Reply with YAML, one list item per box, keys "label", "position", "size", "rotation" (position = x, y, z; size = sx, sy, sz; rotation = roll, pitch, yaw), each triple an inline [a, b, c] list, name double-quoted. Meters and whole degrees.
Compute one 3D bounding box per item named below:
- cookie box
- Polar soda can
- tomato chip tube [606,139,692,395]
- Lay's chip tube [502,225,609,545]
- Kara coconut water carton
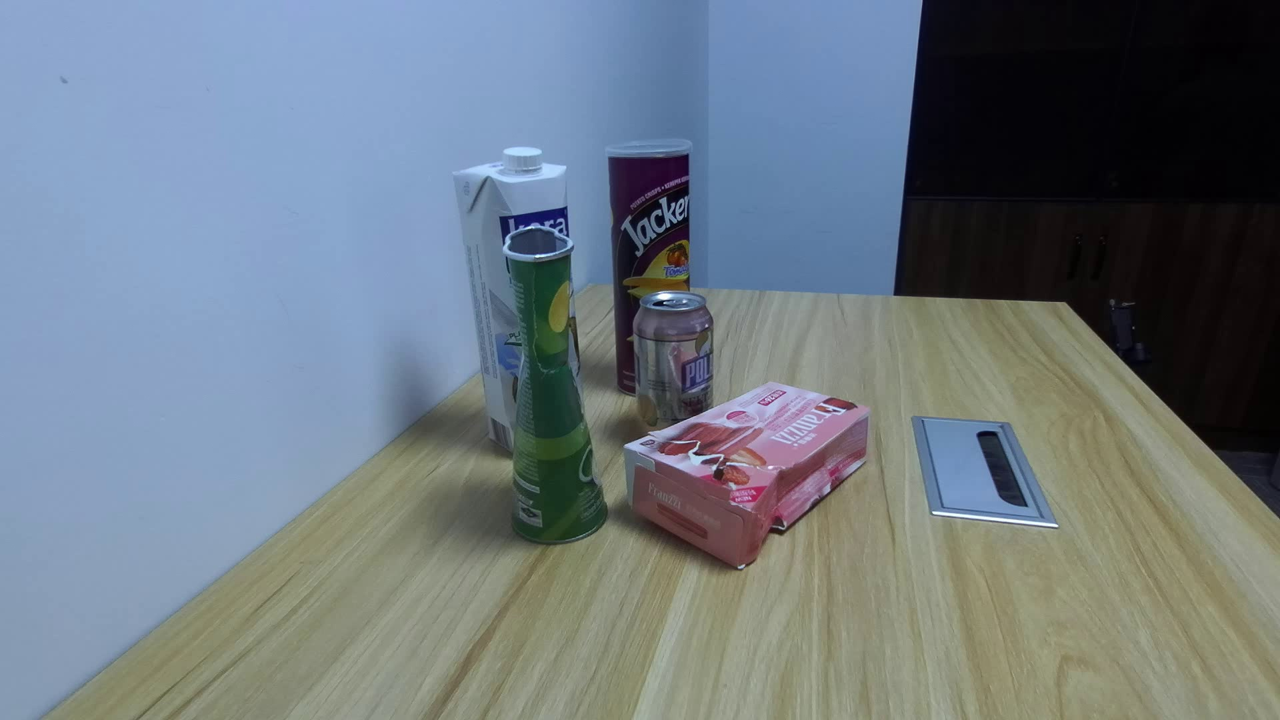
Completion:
- label: "cookie box"
  position: [0.087, 0.069, 0.524]
  size: [0.104, 0.059, 0.186]
  rotation: [18, 28, 37]
- label: "Polar soda can"
  position: [0.030, 0.008, 0.602]
  size: [0.067, 0.125, 0.067]
  rotation: [-1, 20, 1]
- label: "tomato chip tube"
  position: [0.013, -0.082, 0.686]
  size: [0.078, 0.234, 0.078]
  rotation: [-1, 18, 1]
- label: "Lay's chip tube"
  position: [-0.062, 0.020, 0.473]
  size: [0.074, 0.199, 0.069]
  rotation: [15, 27, 37]
- label: "Kara coconut water carton"
  position: [-0.094, -0.045, 0.577]
  size: [0.077, 0.245, 0.075]
  rotation: [-17, 22, -35]
